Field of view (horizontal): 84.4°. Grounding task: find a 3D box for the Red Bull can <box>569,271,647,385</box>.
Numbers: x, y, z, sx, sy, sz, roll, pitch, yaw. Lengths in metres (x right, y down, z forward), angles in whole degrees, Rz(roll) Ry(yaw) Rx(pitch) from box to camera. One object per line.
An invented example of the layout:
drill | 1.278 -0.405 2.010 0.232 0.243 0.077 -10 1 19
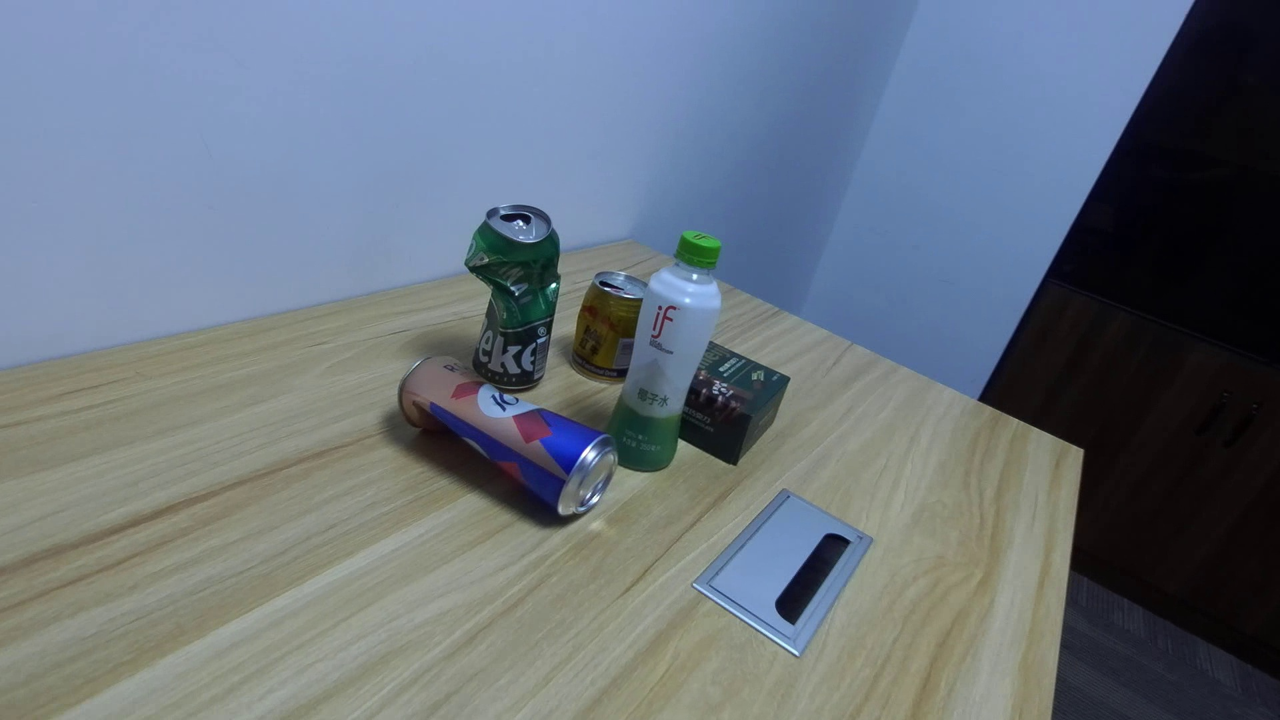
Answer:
Red Bull can | -0.026 -0.032 0.684 0.069 0.092 0.069 13 26 -6

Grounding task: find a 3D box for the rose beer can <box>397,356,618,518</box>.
rose beer can | -0.098 0.051 0.518 0.167 0.069 0.070 24 47 21

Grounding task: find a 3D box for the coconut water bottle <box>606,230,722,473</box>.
coconut water bottle | 0.022 -0.006 0.550 0.063 0.188 0.063 13 26 -6

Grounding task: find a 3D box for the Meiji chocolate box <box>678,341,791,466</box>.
Meiji chocolate box | 0.068 0.032 0.657 0.109 0.056 0.110 25 27 20

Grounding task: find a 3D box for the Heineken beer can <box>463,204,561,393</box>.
Heineken beer can | -0.107 -0.051 0.610 0.067 0.159 0.079 13 32 3
